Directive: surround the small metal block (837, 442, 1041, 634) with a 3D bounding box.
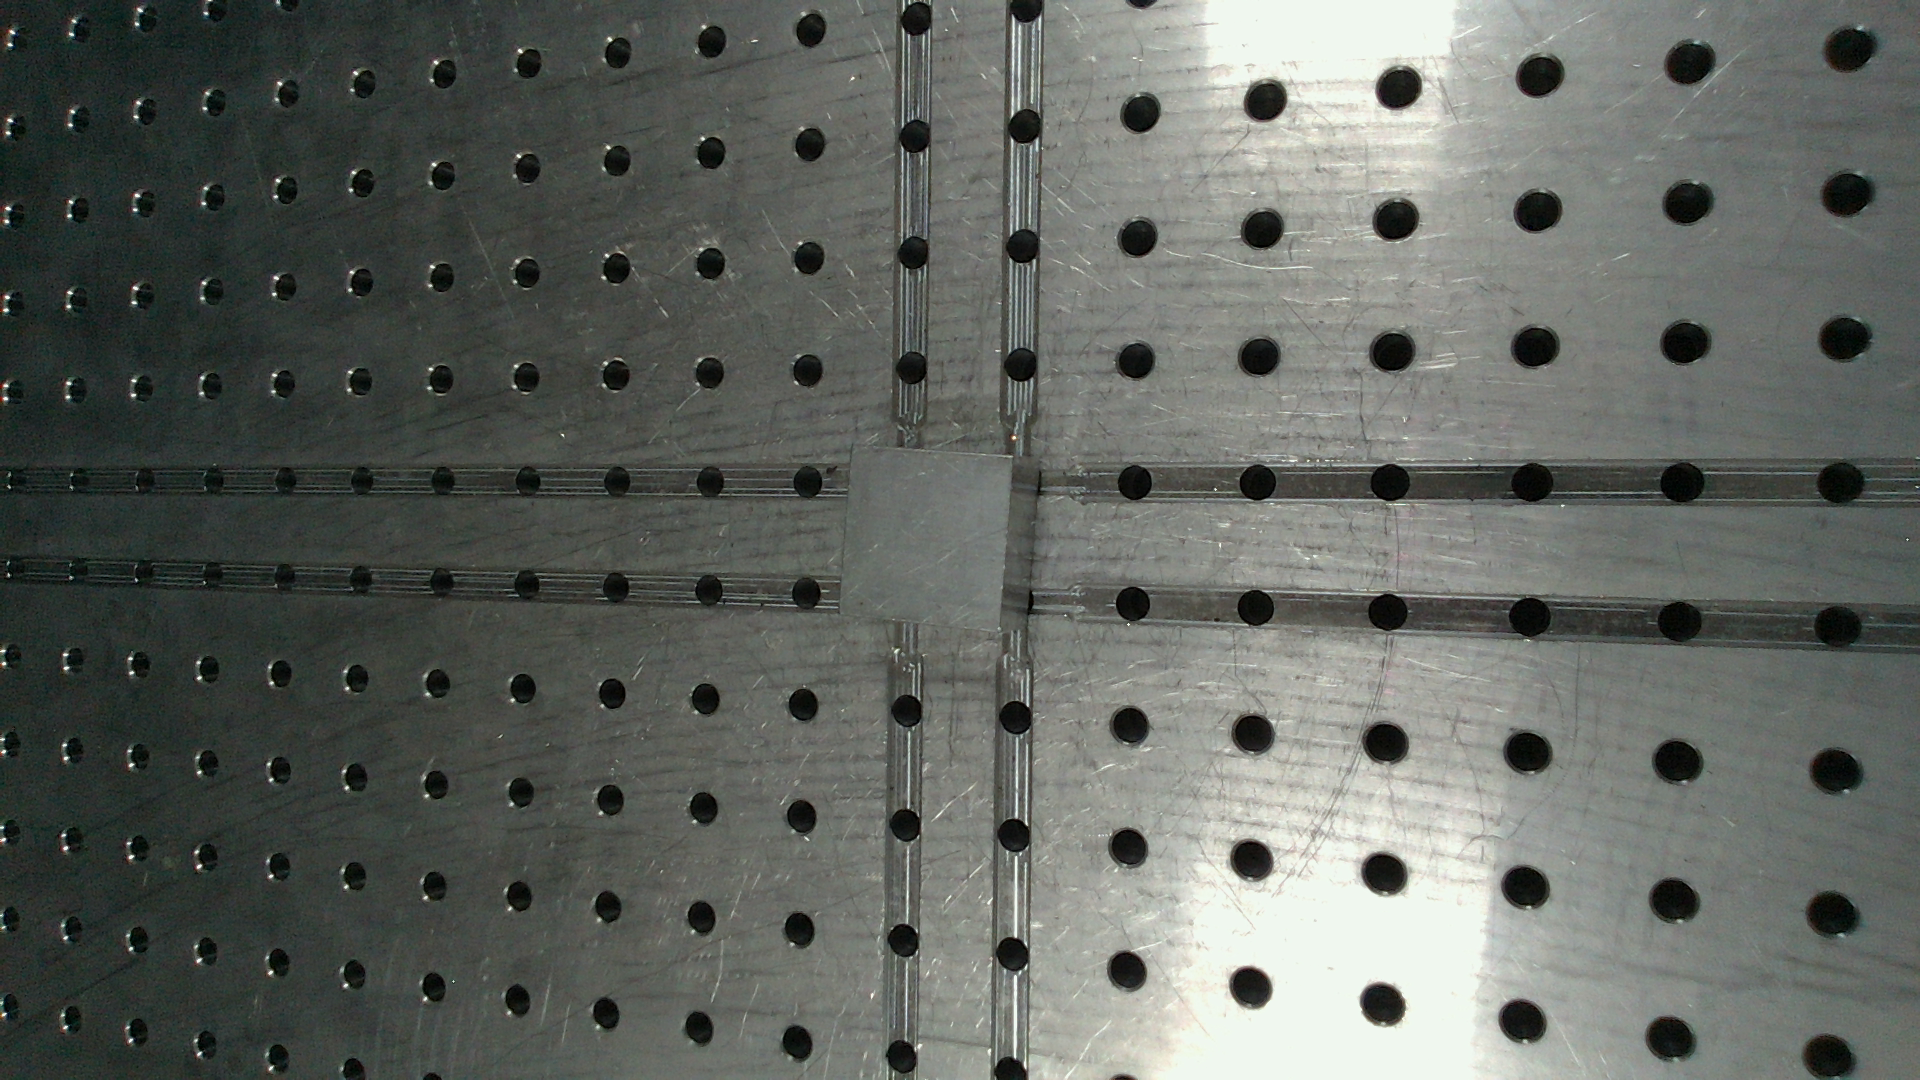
[{"bbox_3d":[-0.006,-0.001,0.400,0.050,0.025,0.050,5,92,20],"label":"small metal block"}]
